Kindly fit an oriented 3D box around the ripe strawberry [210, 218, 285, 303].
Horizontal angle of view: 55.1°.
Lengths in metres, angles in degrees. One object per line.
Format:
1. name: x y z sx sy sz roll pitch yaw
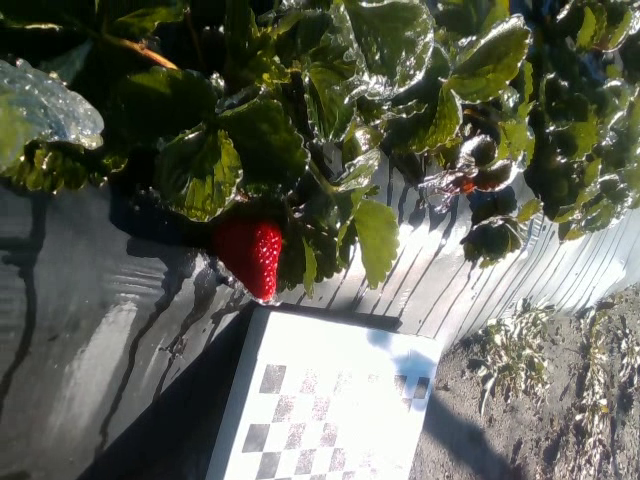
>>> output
1. ripe strawberry: -0.035 0.010 0.330 0.047 0.052 0.041 -33 -26 34
